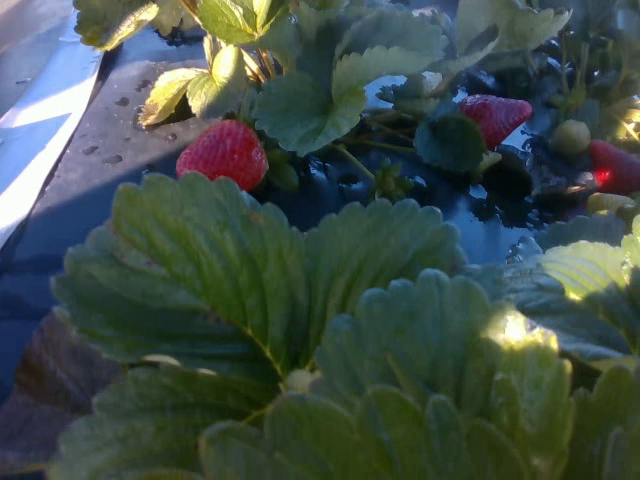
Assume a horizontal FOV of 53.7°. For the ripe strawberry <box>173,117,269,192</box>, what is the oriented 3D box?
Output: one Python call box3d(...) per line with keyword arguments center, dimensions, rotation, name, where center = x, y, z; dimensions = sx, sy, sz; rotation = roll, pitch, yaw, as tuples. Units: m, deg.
box3d(center=(-0.052, -0.041, 0.312), dimensions=(0.045, 0.042, 0.058), rotation=(1, 28, 48), name="ripe strawberry")
